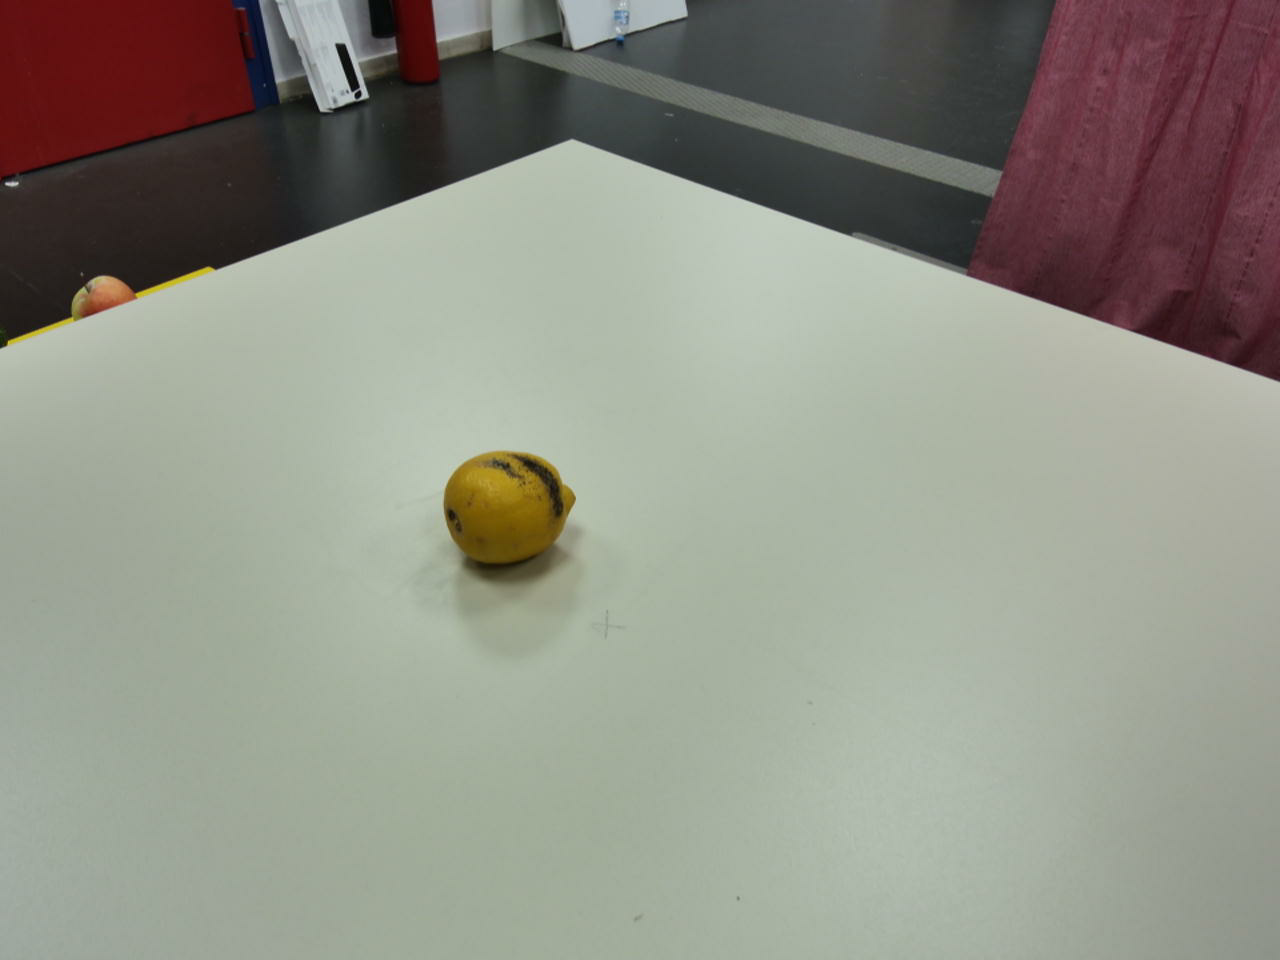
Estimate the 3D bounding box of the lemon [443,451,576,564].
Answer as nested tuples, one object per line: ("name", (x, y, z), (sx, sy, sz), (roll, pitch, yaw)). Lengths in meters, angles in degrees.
("lemon", (-0.067, 0.013, 0.497), (0.058, 0.056, 0.061), (22, 42, 25))
